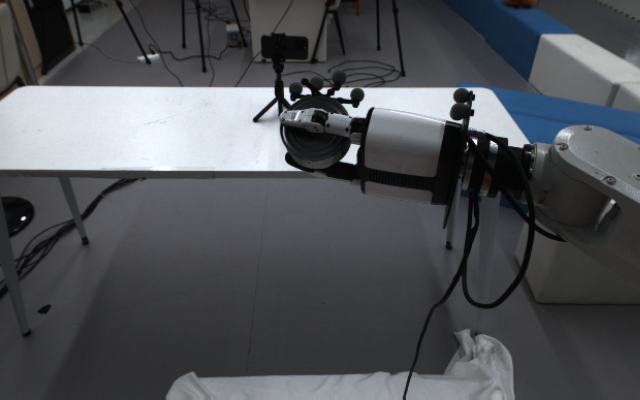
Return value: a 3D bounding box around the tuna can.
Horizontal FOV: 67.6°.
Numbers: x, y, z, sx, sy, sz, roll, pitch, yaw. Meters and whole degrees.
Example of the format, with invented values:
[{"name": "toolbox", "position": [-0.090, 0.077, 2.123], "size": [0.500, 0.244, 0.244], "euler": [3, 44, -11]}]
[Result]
[{"name": "tuna can", "position": [-0.003, -0.084, 0.593], "size": [0.085, 0.034, 0.085], "euler": [-3, 69, 7]}]
